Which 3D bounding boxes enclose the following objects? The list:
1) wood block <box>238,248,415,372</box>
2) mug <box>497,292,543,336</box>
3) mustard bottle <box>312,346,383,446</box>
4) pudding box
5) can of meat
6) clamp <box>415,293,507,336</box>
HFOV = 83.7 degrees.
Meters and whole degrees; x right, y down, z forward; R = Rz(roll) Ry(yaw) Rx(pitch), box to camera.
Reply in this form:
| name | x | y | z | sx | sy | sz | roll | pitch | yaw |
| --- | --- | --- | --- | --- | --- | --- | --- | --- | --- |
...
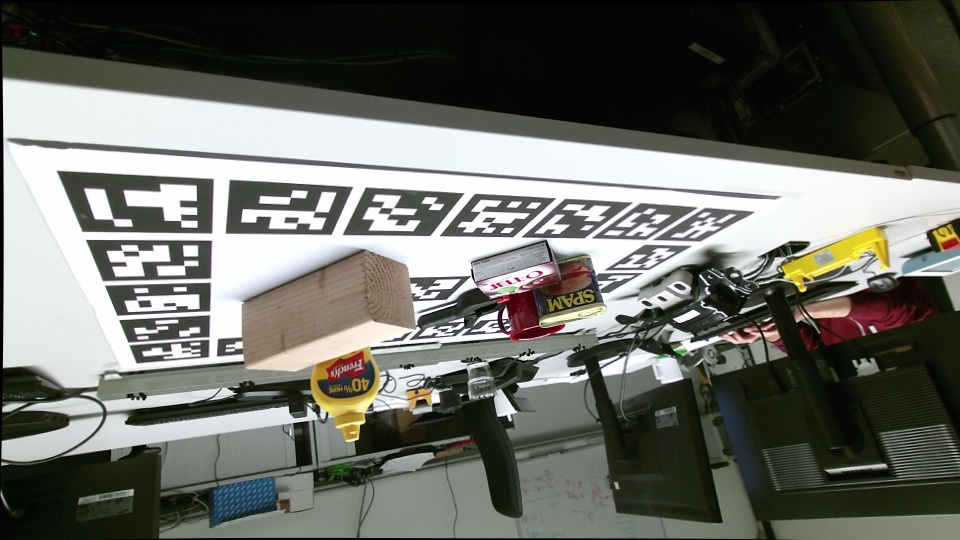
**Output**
| name | x | y | z | sx | sy | sz | roll | pitch | yaw |
| --- | --- | --- | --- | --- | --- | --- | --- | --- | --- |
| wood block | -0.198 | 0.058 | 0.682 | 0.207 | 0.090 | 0.090 | -21 | 158 | 22 |
| mug | 0.074 | 0.060 | 0.895 | 0.117 | 0.081 | 0.093 | -32 | 151 | 34 |
| mustard bottle | -0.191 | 0.153 | 0.763 | 0.096 | 0.190 | 0.058 | -4 | 155 | -23 |
| pudding box | 0.049 | 0.005 | 0.752 | 0.114 | 0.038 | 0.090 | -16 | 157 | 10 |
| can of meat | 0.134 | 0.037 | 0.803 | 0.102 | 0.083 | 0.058 | -14 | 156 | 1 |
| clamp | -0.017 | 0.075 | 0.891 | 0.122 | 0.036 | 0.165 | 12 | 144 | -43 |
